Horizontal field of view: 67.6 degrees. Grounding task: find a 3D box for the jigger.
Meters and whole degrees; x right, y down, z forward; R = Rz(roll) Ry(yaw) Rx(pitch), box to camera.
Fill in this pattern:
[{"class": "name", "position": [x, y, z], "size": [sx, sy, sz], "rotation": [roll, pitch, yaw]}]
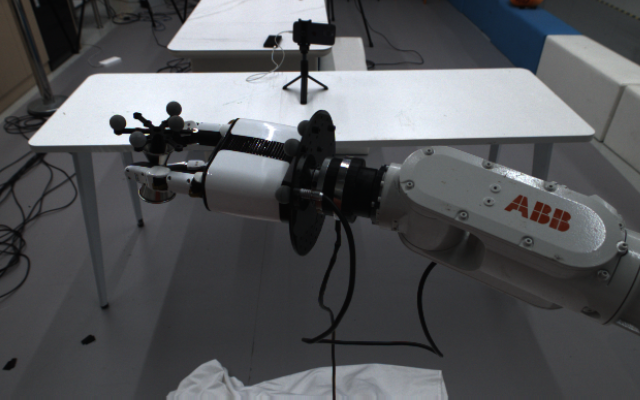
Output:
[{"class": "jigger", "position": [-0.190, -0.034, 0.569], "size": [0.043, 0.071, 0.043], "rotation": [10, 36, -7]}]
